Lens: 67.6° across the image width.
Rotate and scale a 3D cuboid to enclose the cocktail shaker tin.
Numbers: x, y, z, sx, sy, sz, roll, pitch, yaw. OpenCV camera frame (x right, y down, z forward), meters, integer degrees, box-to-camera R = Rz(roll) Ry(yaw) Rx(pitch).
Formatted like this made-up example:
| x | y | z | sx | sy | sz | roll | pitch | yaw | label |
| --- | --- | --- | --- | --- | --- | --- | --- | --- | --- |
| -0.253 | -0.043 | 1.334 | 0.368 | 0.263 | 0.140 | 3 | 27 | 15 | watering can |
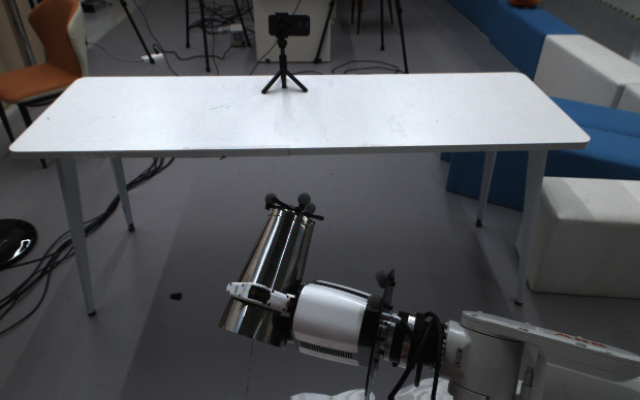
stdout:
| x | y | z | sx | sy | sz | roll | pitch | yaw | label |
| --- | --- | --- | --- | --- | --- | --- | --- | --- | --- |
| -0.065 | 0.102 | 0.651 | 0.093 | 0.093 | 0.170 | 14 | 73 | 16 | cocktail shaker tin |
